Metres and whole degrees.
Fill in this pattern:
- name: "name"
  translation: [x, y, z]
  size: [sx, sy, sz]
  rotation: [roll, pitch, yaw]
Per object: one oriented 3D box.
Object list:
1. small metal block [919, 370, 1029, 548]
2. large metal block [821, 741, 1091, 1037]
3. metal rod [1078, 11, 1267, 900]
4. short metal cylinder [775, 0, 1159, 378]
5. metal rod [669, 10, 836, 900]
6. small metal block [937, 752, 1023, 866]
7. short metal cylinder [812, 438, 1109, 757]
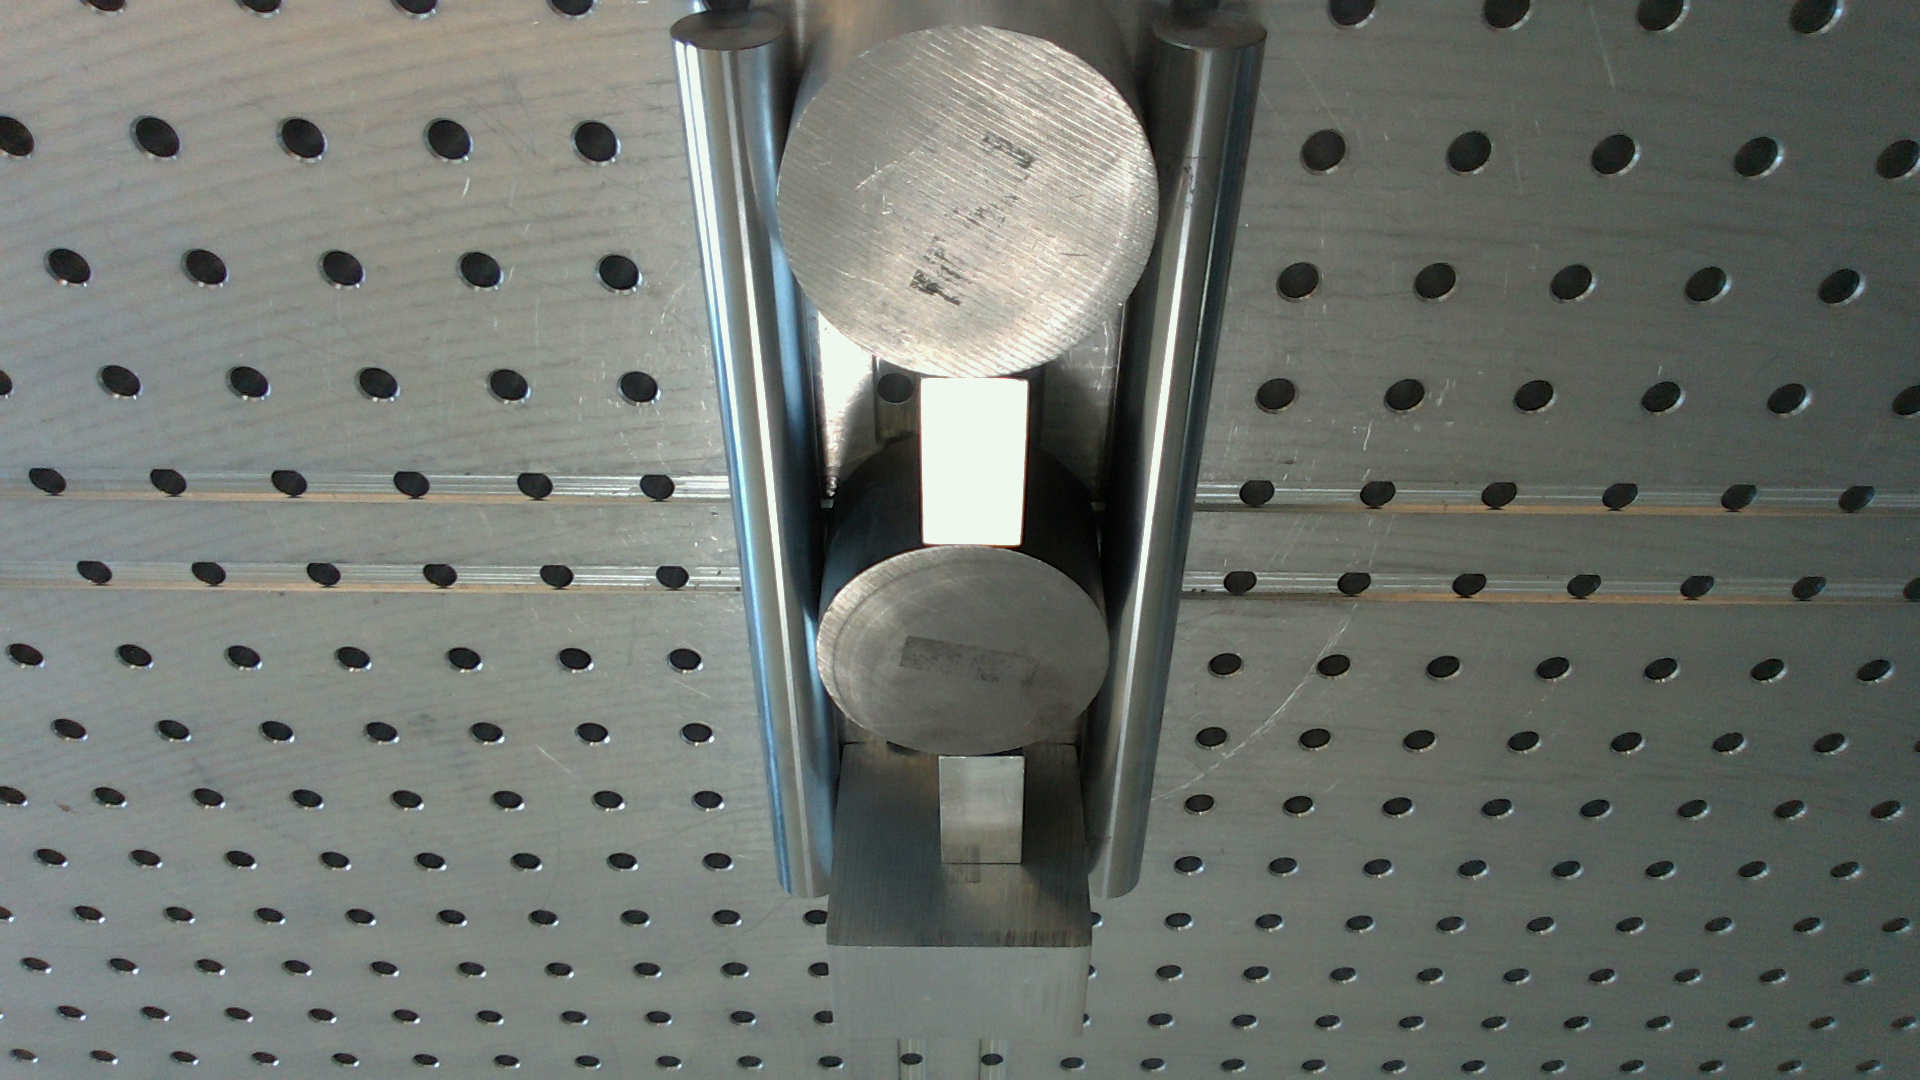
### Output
- name: "small metal block"
  translation: [0.003, -0.033, 0.348]
  size: [0.025, 0.050, 0.050]
  rotation: [0, 130, 0]
- name: "large metal block"
  translation: [-0.001, 0.114, 0.454]
  size: [0.080, 0.080, 0.050]
  rotation: [1, 130, -1]
- name: "metal rod"
  translation: [0.053, 0.004, 0.396]
  size: [0.025, 0.025, 0.300]
  rotation: [0, 130, 0]
- name: "short metal cylinder"
  translation: [0.002, -0.083, 0.306]
  size: [0.080, 0.050, 0.080]
  rotation: [0, 130, 0]
- name: "metal rod"
  translation: [-0.052, 0.004, 0.395]
  size: [0.025, 0.025, 0.300]
  rotation: [0, 130, 0]
- name: "small metal block"
  translation: [0.006, 0.067, 0.432]
  size: [0.025, 0.050, 0.050]
  rotation: [0, 130, 0]
- name: "short metal cylinder"
  translation: [0.000, 0.016, 0.390]
  size: [0.080, 0.050, 0.080]
  rotation: [0, 130, 0]
